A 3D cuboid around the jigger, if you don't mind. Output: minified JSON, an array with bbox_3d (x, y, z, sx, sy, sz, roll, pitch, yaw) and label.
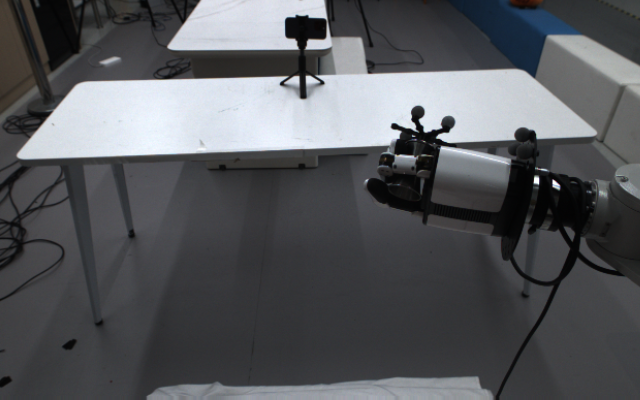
[{"bbox_3d":[0.118,-0.041,0.617,0.043,0.043,0.071,16,70,19],"label":"jigger"}]
